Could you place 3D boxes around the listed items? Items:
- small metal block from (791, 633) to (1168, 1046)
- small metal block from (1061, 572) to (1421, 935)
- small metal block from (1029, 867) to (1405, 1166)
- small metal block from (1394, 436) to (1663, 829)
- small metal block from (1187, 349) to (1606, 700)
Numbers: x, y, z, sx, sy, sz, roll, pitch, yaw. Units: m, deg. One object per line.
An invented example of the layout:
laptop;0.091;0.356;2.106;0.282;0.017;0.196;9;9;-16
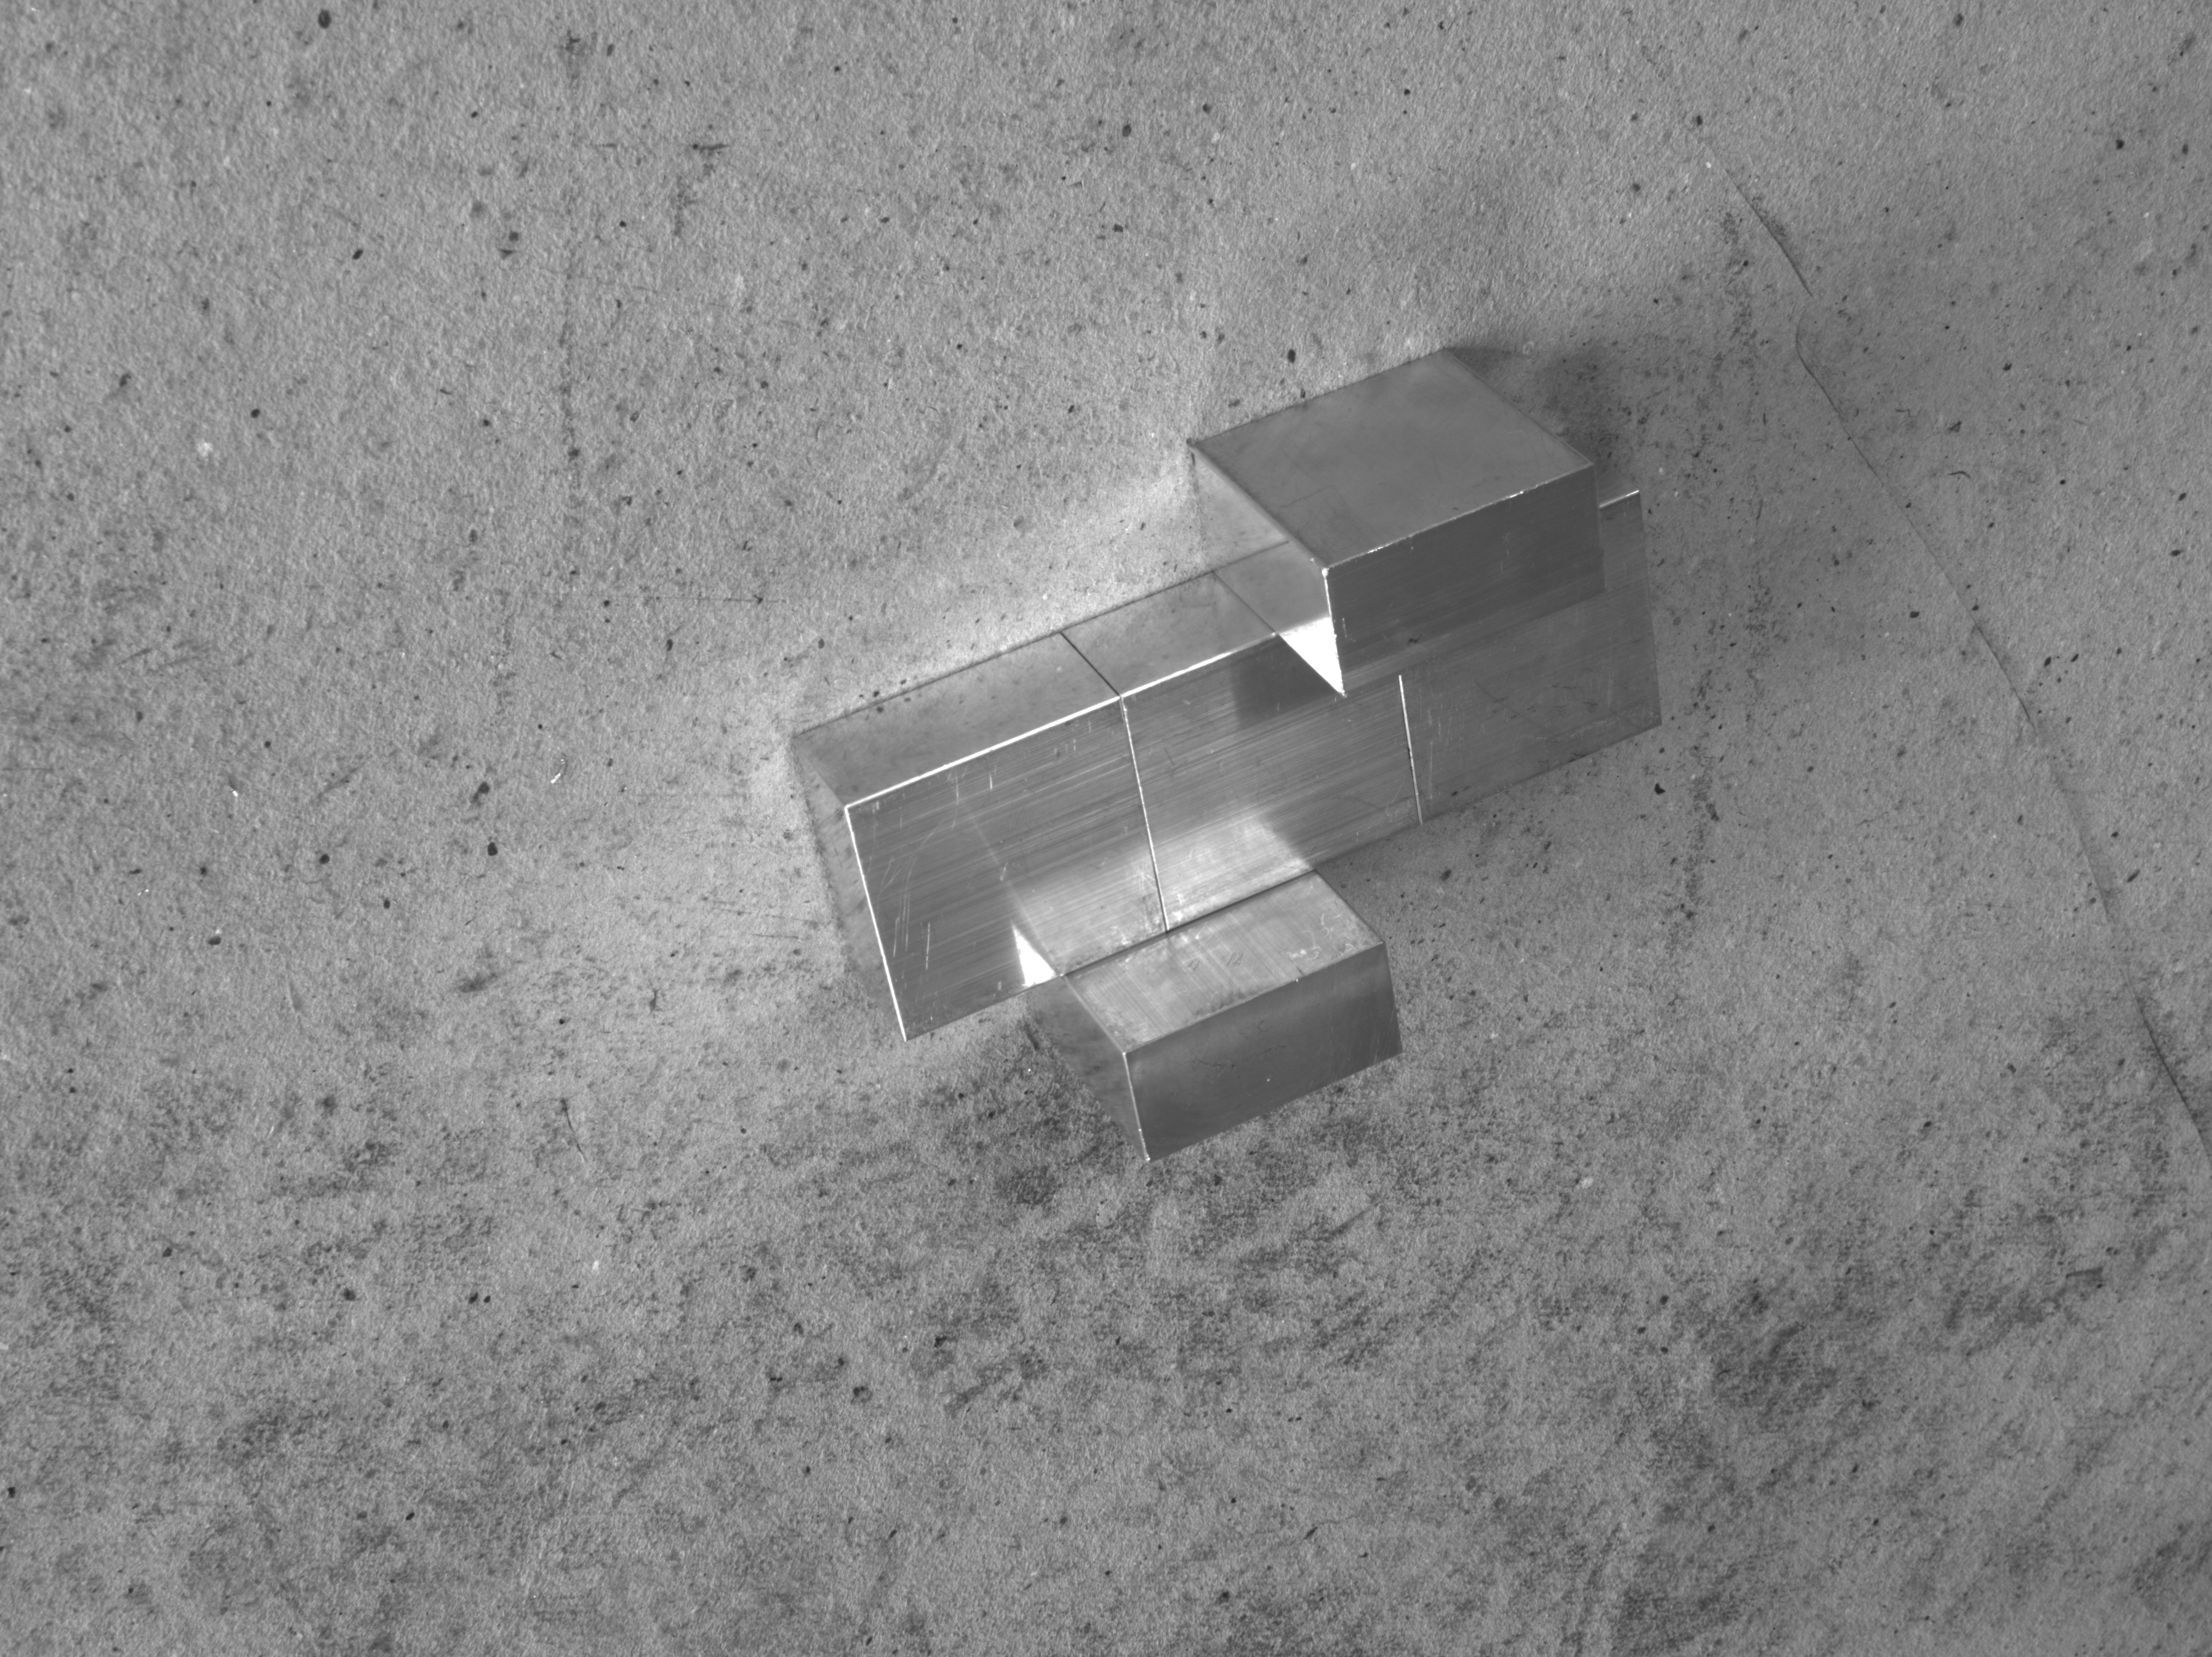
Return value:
small metal block;-0.021;0.002;0.627;0.050;0.025;0.050;-22;127;-15
small metal block;0.024;-0.017;0.640;0.050;0.025;0.050;-22;127;-15
small metal block;0.017;0.027;0.647;0.050;0.050;0.025;-22;126;-14
small metal block;0.069;-0.035;0.653;0.050;0.025;0.050;-22;127;-15
small metal block;0.048;-0.052;0.617;0.050;0.050;0.025;-22;126;-14
